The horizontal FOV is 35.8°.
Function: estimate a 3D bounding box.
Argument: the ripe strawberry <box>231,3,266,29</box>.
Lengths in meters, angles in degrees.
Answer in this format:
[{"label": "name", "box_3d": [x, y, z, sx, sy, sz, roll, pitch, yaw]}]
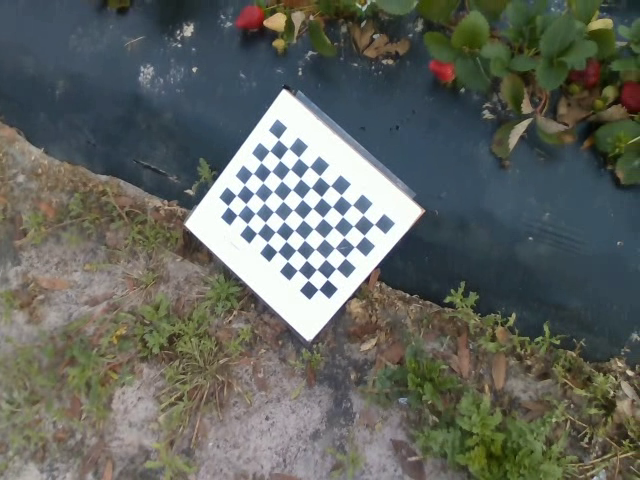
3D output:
[{"label": "ripe strawberry", "box_3d": [-0.117, -0.351, 1.586, 0.050, 0.034, 0.059, 31, 55, 20]}]
